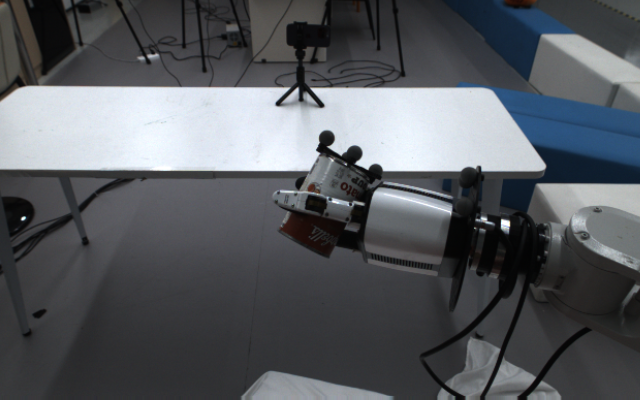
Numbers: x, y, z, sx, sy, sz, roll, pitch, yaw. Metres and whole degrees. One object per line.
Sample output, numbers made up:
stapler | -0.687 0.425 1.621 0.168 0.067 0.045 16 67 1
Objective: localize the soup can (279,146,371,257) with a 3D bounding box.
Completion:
soup can | 0.006 0.006 0.551 0.067 0.101 0.067 28 -3 1
